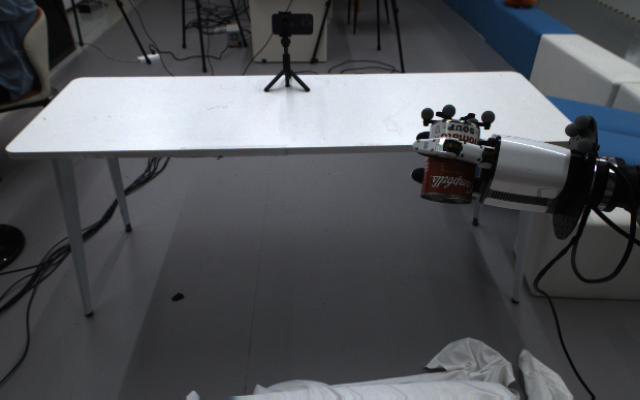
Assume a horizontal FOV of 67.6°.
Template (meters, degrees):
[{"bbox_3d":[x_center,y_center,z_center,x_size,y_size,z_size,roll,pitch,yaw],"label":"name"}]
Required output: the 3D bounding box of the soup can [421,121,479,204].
[{"bbox_3d":[0.177,-0.050,0.650,0.067,0.101,0.067,9,-6,1],"label":"soup can"}]
